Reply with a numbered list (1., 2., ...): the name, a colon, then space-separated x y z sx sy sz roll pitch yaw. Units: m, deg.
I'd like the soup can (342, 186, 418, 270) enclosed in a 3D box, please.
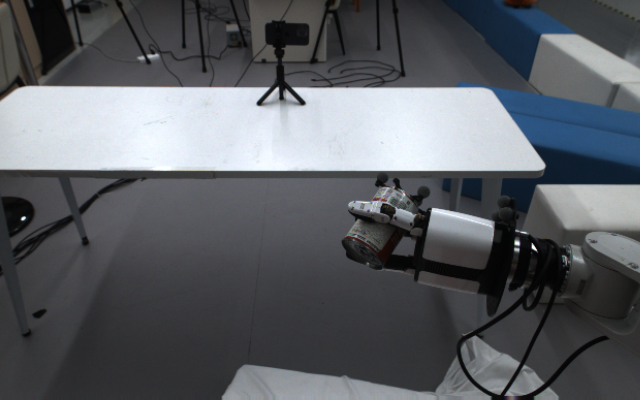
1. soup can: 0.087 0.036 0.683 0.067 0.067 0.101 25 67 30
